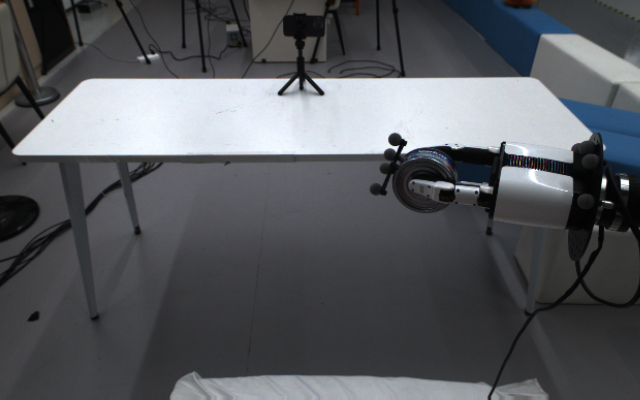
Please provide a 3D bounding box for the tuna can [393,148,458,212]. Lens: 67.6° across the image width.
[{"bbox_3d":[0.144,-0.027,0.655,0.085,0.085,0.034,12,29,14],"label":"tuna can"}]
